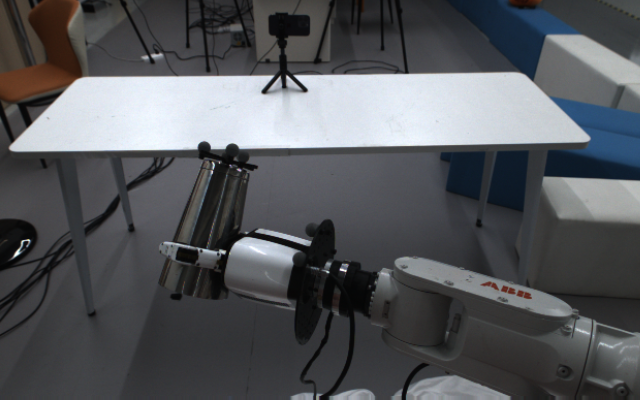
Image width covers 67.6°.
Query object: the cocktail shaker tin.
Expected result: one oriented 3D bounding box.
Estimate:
[{"bbox_3d":[-0.147,0.037,0.645,0.093,0.170,0.093,14,-4,1],"label":"cocktail shaker tin"}]
